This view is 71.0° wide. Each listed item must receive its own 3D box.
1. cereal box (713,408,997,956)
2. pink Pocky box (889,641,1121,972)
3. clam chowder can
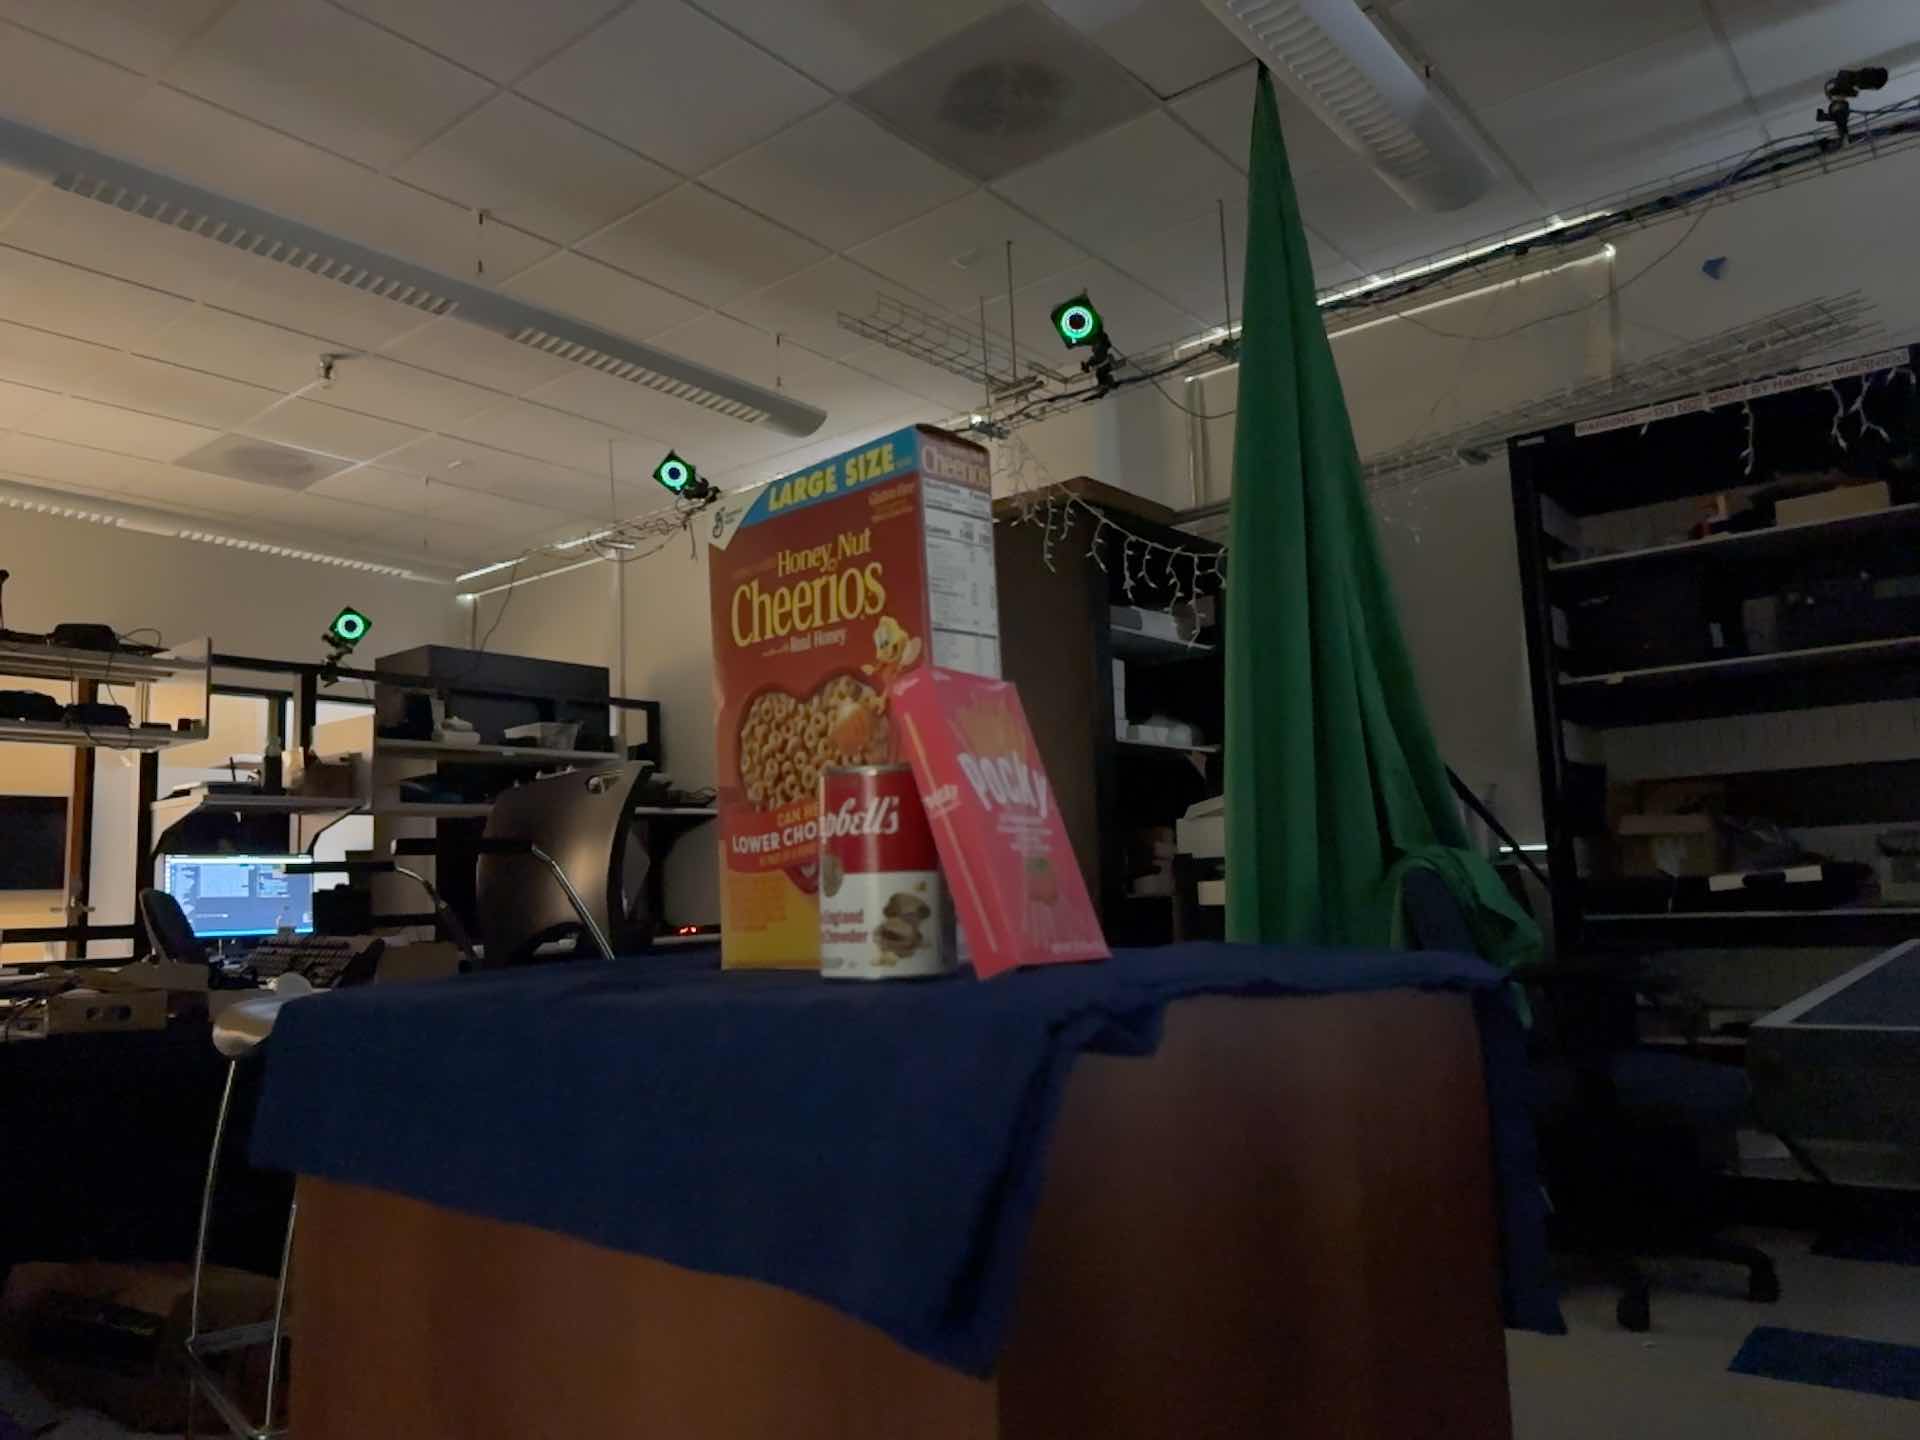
[{"bbox_3d":[-0.070,-0.012,0.822,0.065,0.297,0.195,3,-7,-43],"label":"cereal box"},{"bbox_3d":[0.021,0.040,0.639,0.029,0.154,0.084,-29,-22,29],"label":"pink Pocky box"},{"bbox_3d":[-0.027,0.072,0.668,0.068,0.102,0.068,0,-4,0],"label":"clam chowder can"}]
